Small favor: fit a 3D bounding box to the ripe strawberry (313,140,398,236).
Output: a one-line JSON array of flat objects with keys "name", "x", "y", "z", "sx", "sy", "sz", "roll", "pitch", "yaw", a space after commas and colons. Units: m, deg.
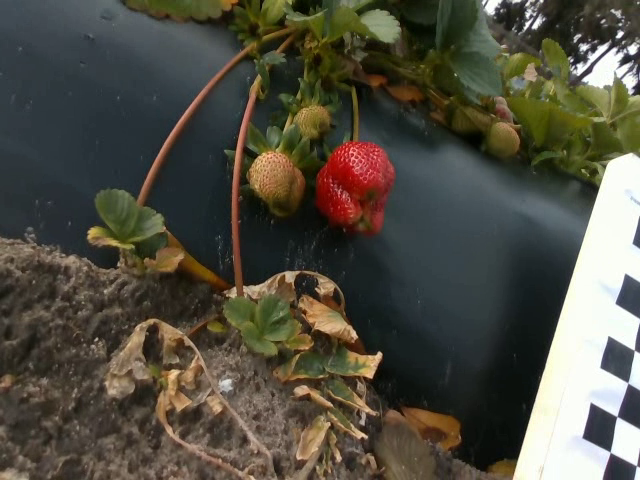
[{"name": "ripe strawberry", "x": 0.028, "y": -0.038, "z": 0.363, "sx": 0.066, "sy": 0.075, "sz": 0.052, "roll": 11, "pitch": -14, "yaw": -21}]
